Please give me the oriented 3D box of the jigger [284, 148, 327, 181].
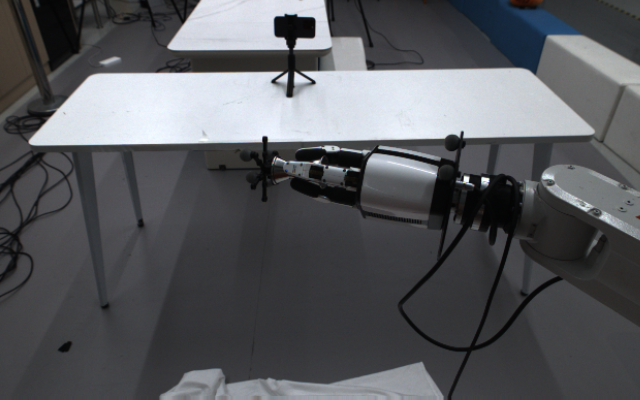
[{"bbox_3d":[-0.019,-0.043,0.643,0.071,0.043,0.043,3,34,17],"label":"jigger"}]
